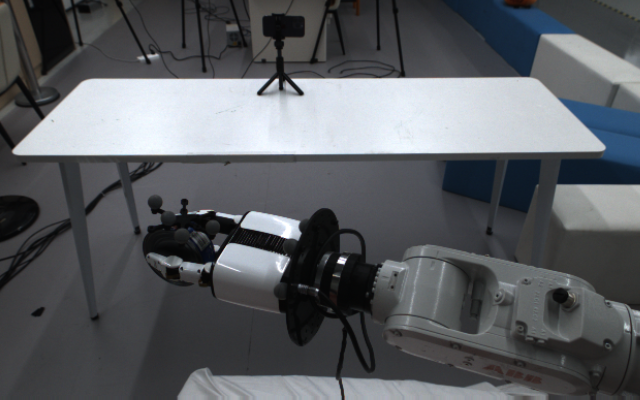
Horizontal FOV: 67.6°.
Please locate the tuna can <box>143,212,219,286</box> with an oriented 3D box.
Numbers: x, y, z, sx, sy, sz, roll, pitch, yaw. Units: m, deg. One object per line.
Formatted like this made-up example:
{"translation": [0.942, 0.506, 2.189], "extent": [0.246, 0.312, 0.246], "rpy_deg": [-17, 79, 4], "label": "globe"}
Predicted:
{"translation": [-0.176, 0.066, 0.612], "extent": [0.085, 0.085, 0.034], "rpy_deg": [13, 30, 15], "label": "tuna can"}
